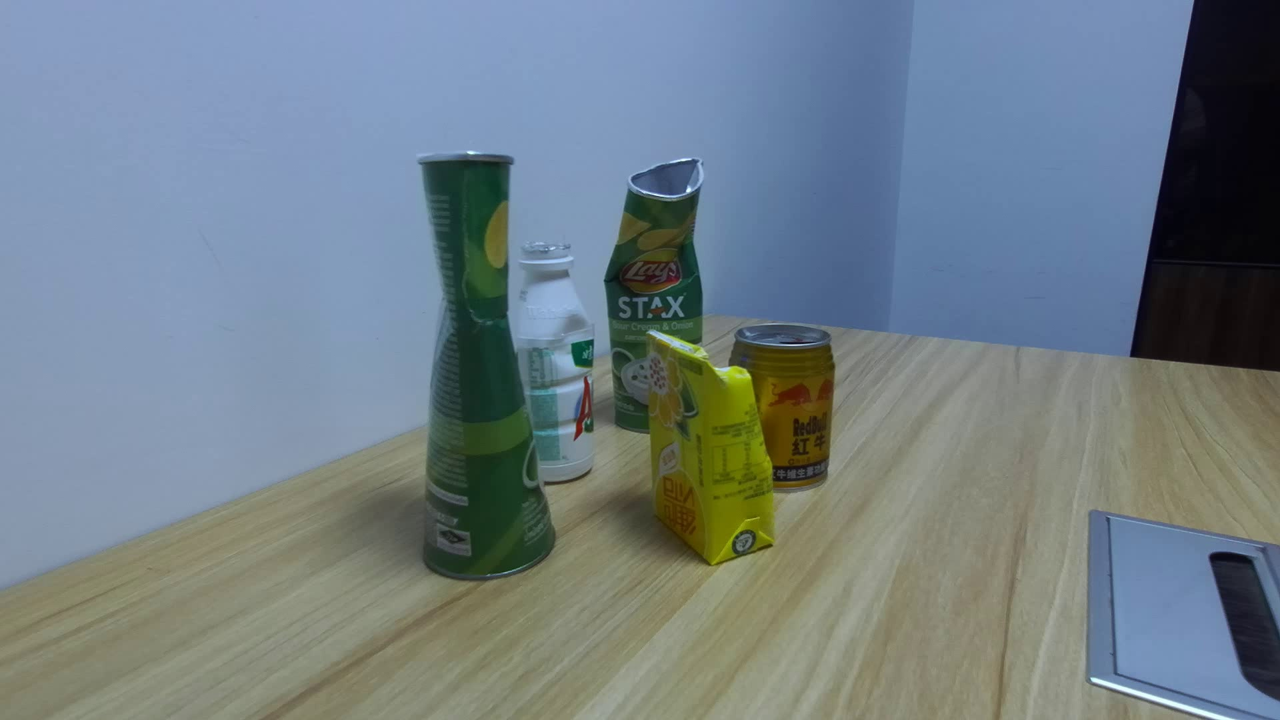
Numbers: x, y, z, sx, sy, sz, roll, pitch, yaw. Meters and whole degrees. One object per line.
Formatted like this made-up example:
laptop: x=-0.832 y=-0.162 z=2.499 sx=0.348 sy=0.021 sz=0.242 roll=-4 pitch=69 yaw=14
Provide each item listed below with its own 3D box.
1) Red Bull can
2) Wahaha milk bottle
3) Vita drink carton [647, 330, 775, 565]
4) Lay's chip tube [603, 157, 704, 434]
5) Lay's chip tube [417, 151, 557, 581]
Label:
Red Bull can: x=0.090 y=0.028 z=0.451 sx=0.067 sy=0.093 sz=0.067 roll=0 pitch=15 yaw=0
Wahaha milk bottle: x=-0.055 y=0.002 z=0.448 sx=0.055 sy=0.149 sz=0.055 roll=1 pitch=14 yaw=0
Vita drink carton: x=0.039 y=0.041 z=0.372 sx=0.046 sy=0.109 sz=0.071 roll=-9 pitch=18 yaw=-23
Lay's chip tube: x=0.017 y=-0.042 z=0.521 sx=0.079 sy=0.199 sz=0.070 roll=-8 pitch=24 yaw=-22
Lay's chip tube: x=-0.083 y=0.005 z=0.355 sx=0.074 sy=0.199 sz=0.069 roll=5 pitch=14 yaw=30
